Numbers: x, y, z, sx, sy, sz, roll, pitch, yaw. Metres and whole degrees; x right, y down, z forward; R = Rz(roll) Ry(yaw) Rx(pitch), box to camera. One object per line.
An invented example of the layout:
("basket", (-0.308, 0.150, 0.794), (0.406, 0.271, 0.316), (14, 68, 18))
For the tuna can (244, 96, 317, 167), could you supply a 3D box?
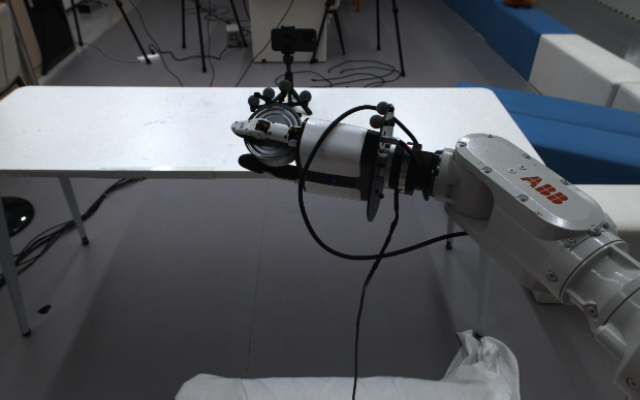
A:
("tuna can", (-0.064, -0.092, 0.687), (0.085, 0.034, 0.085), (-5, 70, 14))
